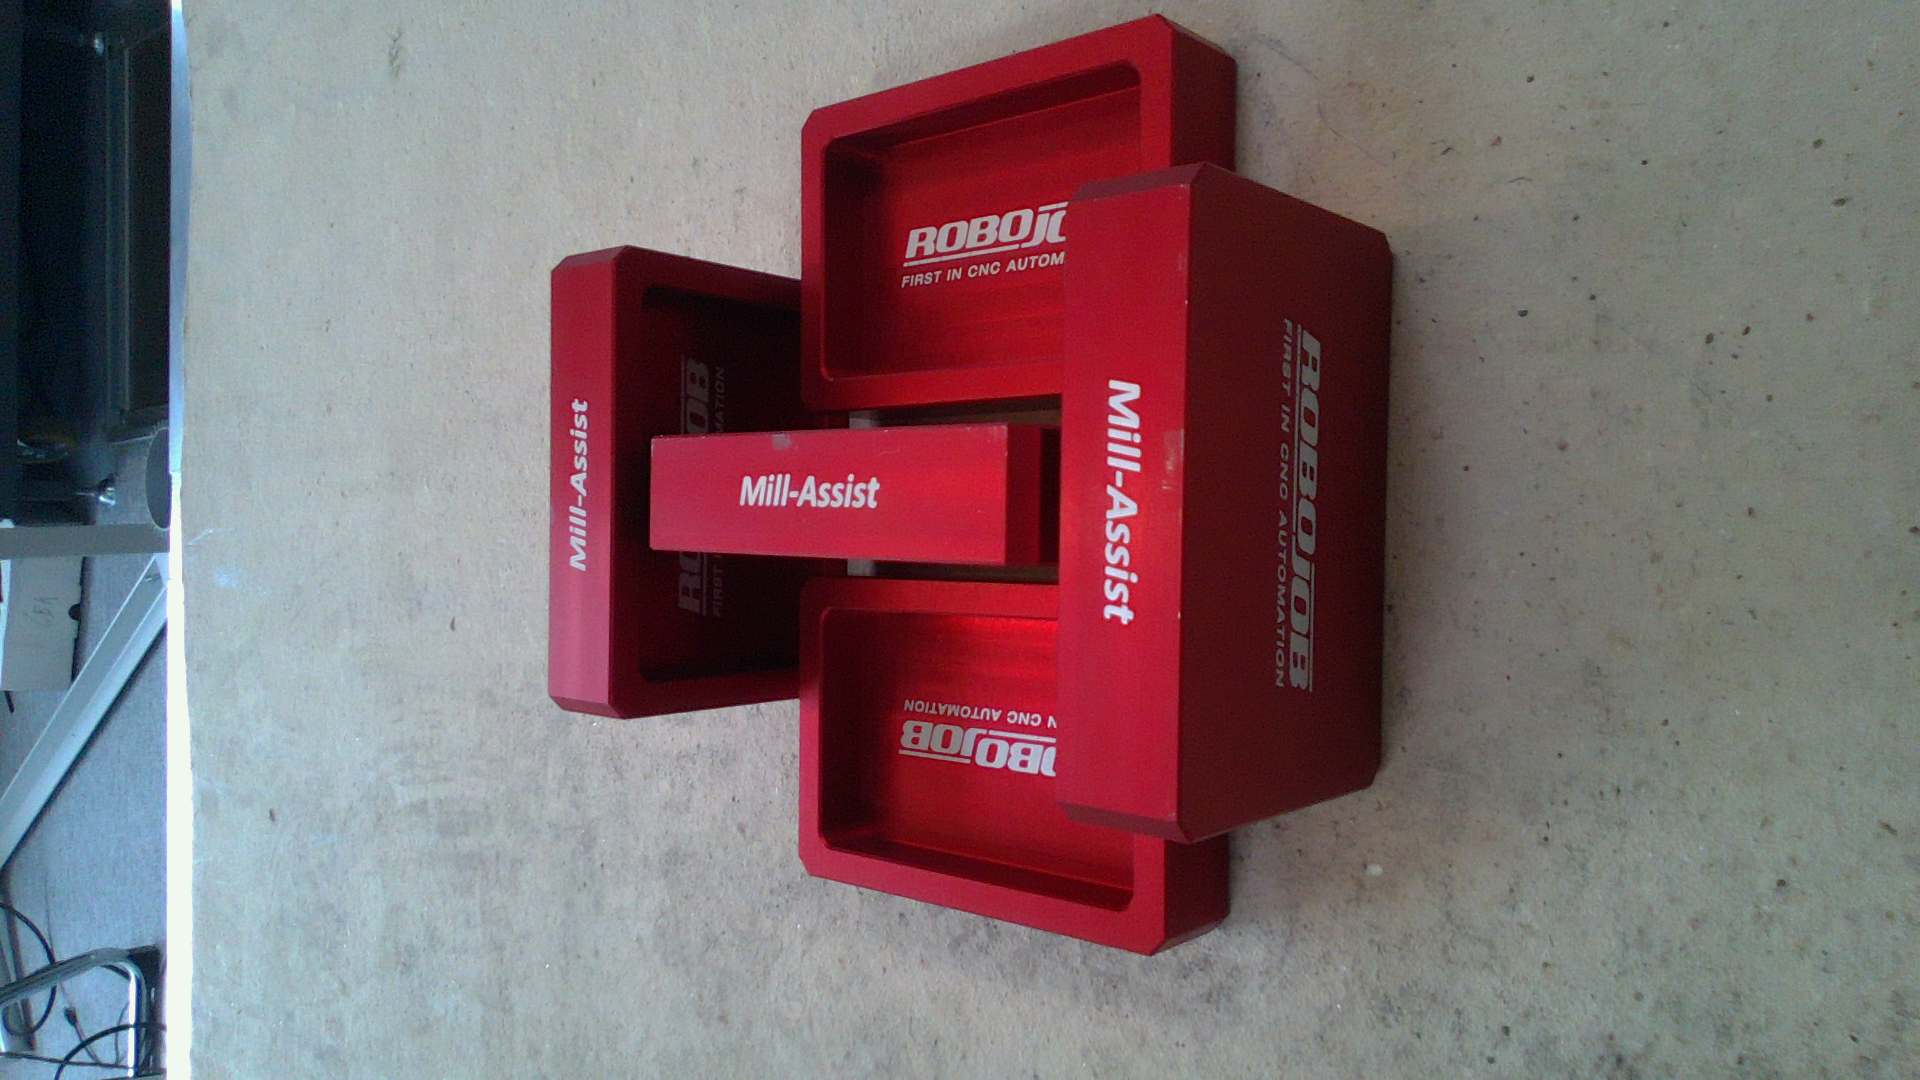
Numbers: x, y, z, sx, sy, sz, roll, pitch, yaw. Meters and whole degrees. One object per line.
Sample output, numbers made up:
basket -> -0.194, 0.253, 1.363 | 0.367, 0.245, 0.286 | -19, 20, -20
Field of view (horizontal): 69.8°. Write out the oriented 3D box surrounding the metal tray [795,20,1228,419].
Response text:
metal tray -> 0.010, -0.082, 0.383 | 0.129, 0.030, 0.090 | 0, 93, 40

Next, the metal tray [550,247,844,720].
metal tray -> -0.077, -0.016, 0.417 | 0.030, 0.090, 0.130 | 1, 91, 40

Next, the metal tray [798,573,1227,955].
metal tray -> 0.011, 0.056, 0.385 | 0.129, 0.030, 0.090 | 1, 89, 40

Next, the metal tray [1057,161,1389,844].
metal tray -> 0.060, -0.007, 0.302 | 0.030, 0.090, 0.130 | 2, 91, 40

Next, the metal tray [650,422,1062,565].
metal tray -> -0.007, -0.012, 0.360 | 0.129, 0.090, 0.030 | 2, 92, 40
